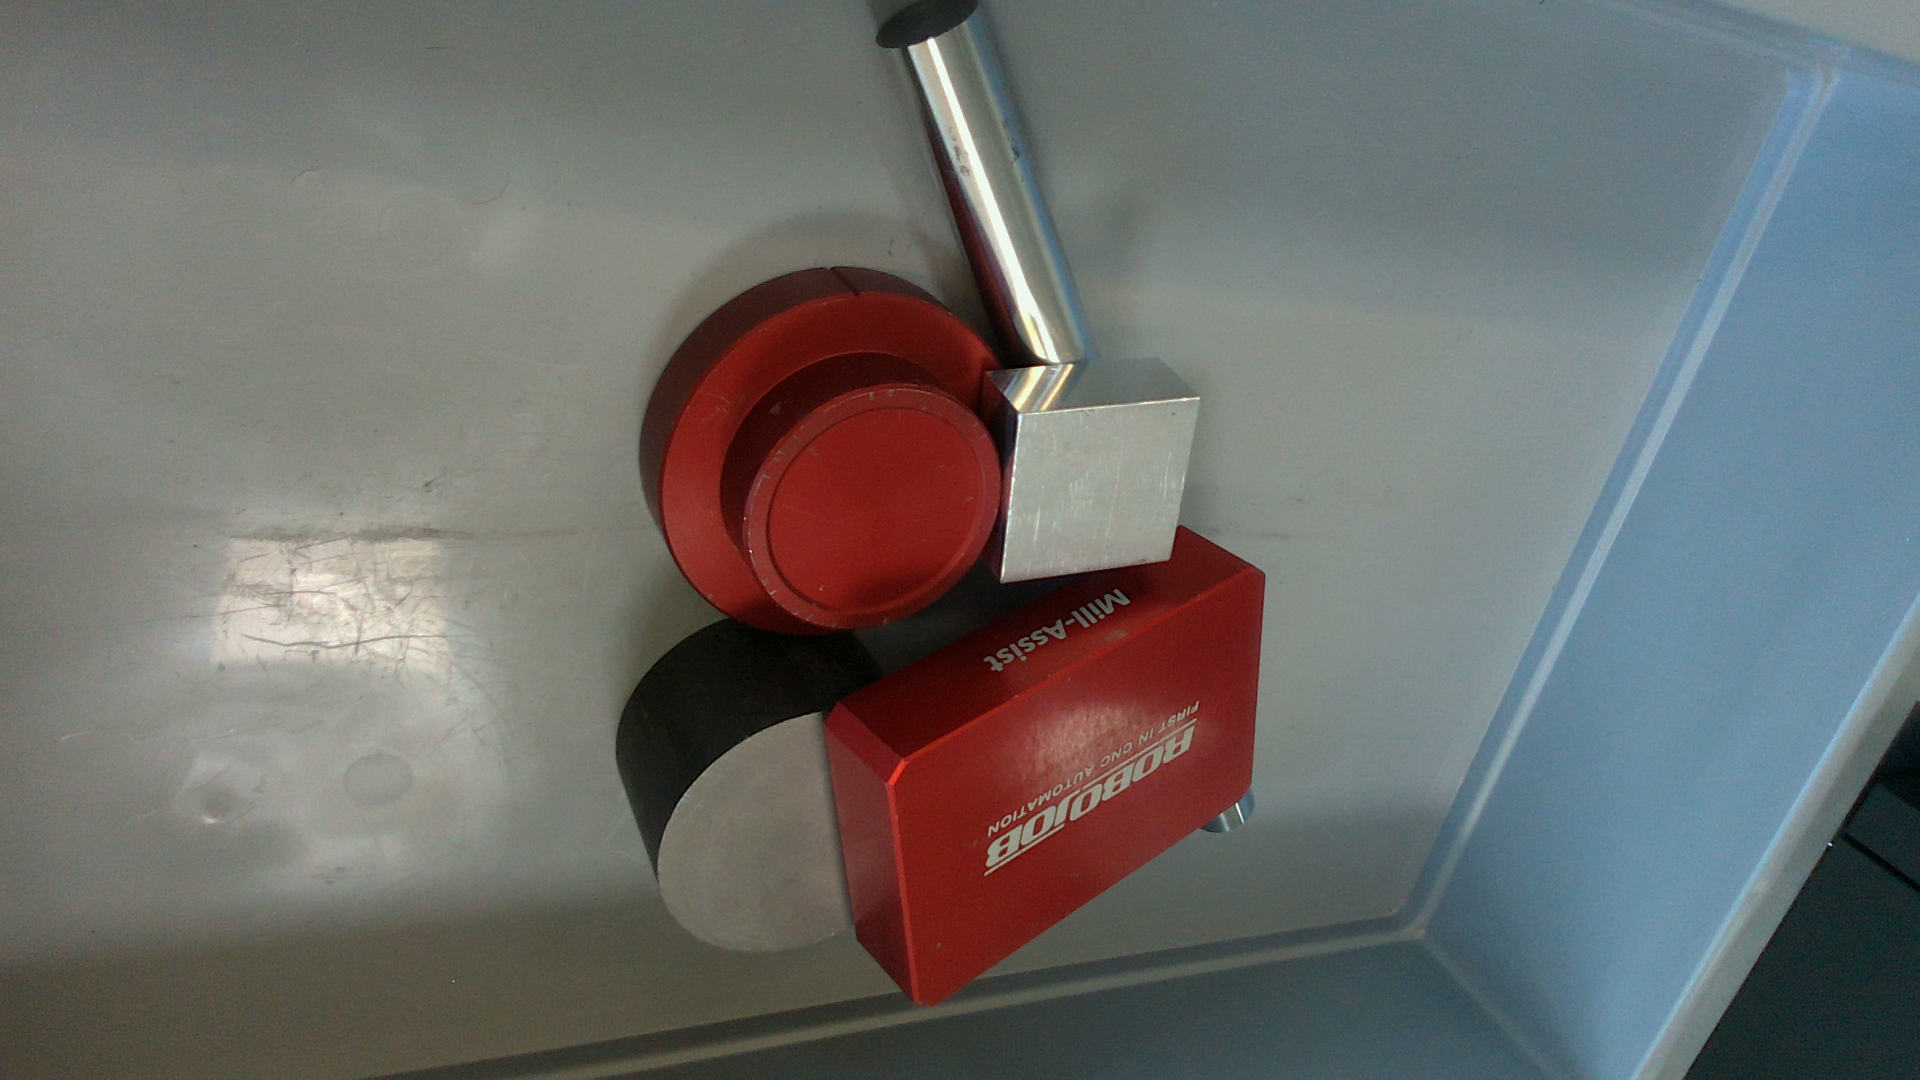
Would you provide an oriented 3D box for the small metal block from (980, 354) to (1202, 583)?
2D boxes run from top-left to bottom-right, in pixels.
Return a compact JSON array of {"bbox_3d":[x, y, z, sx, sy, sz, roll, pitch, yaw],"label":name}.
[{"bbox_3d":[0.032,-0.019,0.363,0.050,0.025,0.050,-7,124,-19],"label":"small metal block"}]

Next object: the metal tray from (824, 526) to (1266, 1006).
[{"bbox_3d":[0.029,0.061,0.388,0.130,0.030,0.090,-25,129,-29],"label":"metal tray"}]

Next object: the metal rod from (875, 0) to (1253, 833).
[{"bbox_3d":[0.043,-0.011,0.404,0.025,0.025,0.301,-32,129,-8],"label":"metal rod"}]

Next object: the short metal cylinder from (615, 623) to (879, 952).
[{"bbox_3d":[-0.051,0.067,0.385,0.080,0.050,0.080,-14,124,-21],"label":"short metal cylinder"}]

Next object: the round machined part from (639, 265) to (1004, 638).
[{"bbox_3d":[-0.028,-0.016,0.350,0.098,0.042,0.098,-13,123,-20],"label":"round machined part"}]
